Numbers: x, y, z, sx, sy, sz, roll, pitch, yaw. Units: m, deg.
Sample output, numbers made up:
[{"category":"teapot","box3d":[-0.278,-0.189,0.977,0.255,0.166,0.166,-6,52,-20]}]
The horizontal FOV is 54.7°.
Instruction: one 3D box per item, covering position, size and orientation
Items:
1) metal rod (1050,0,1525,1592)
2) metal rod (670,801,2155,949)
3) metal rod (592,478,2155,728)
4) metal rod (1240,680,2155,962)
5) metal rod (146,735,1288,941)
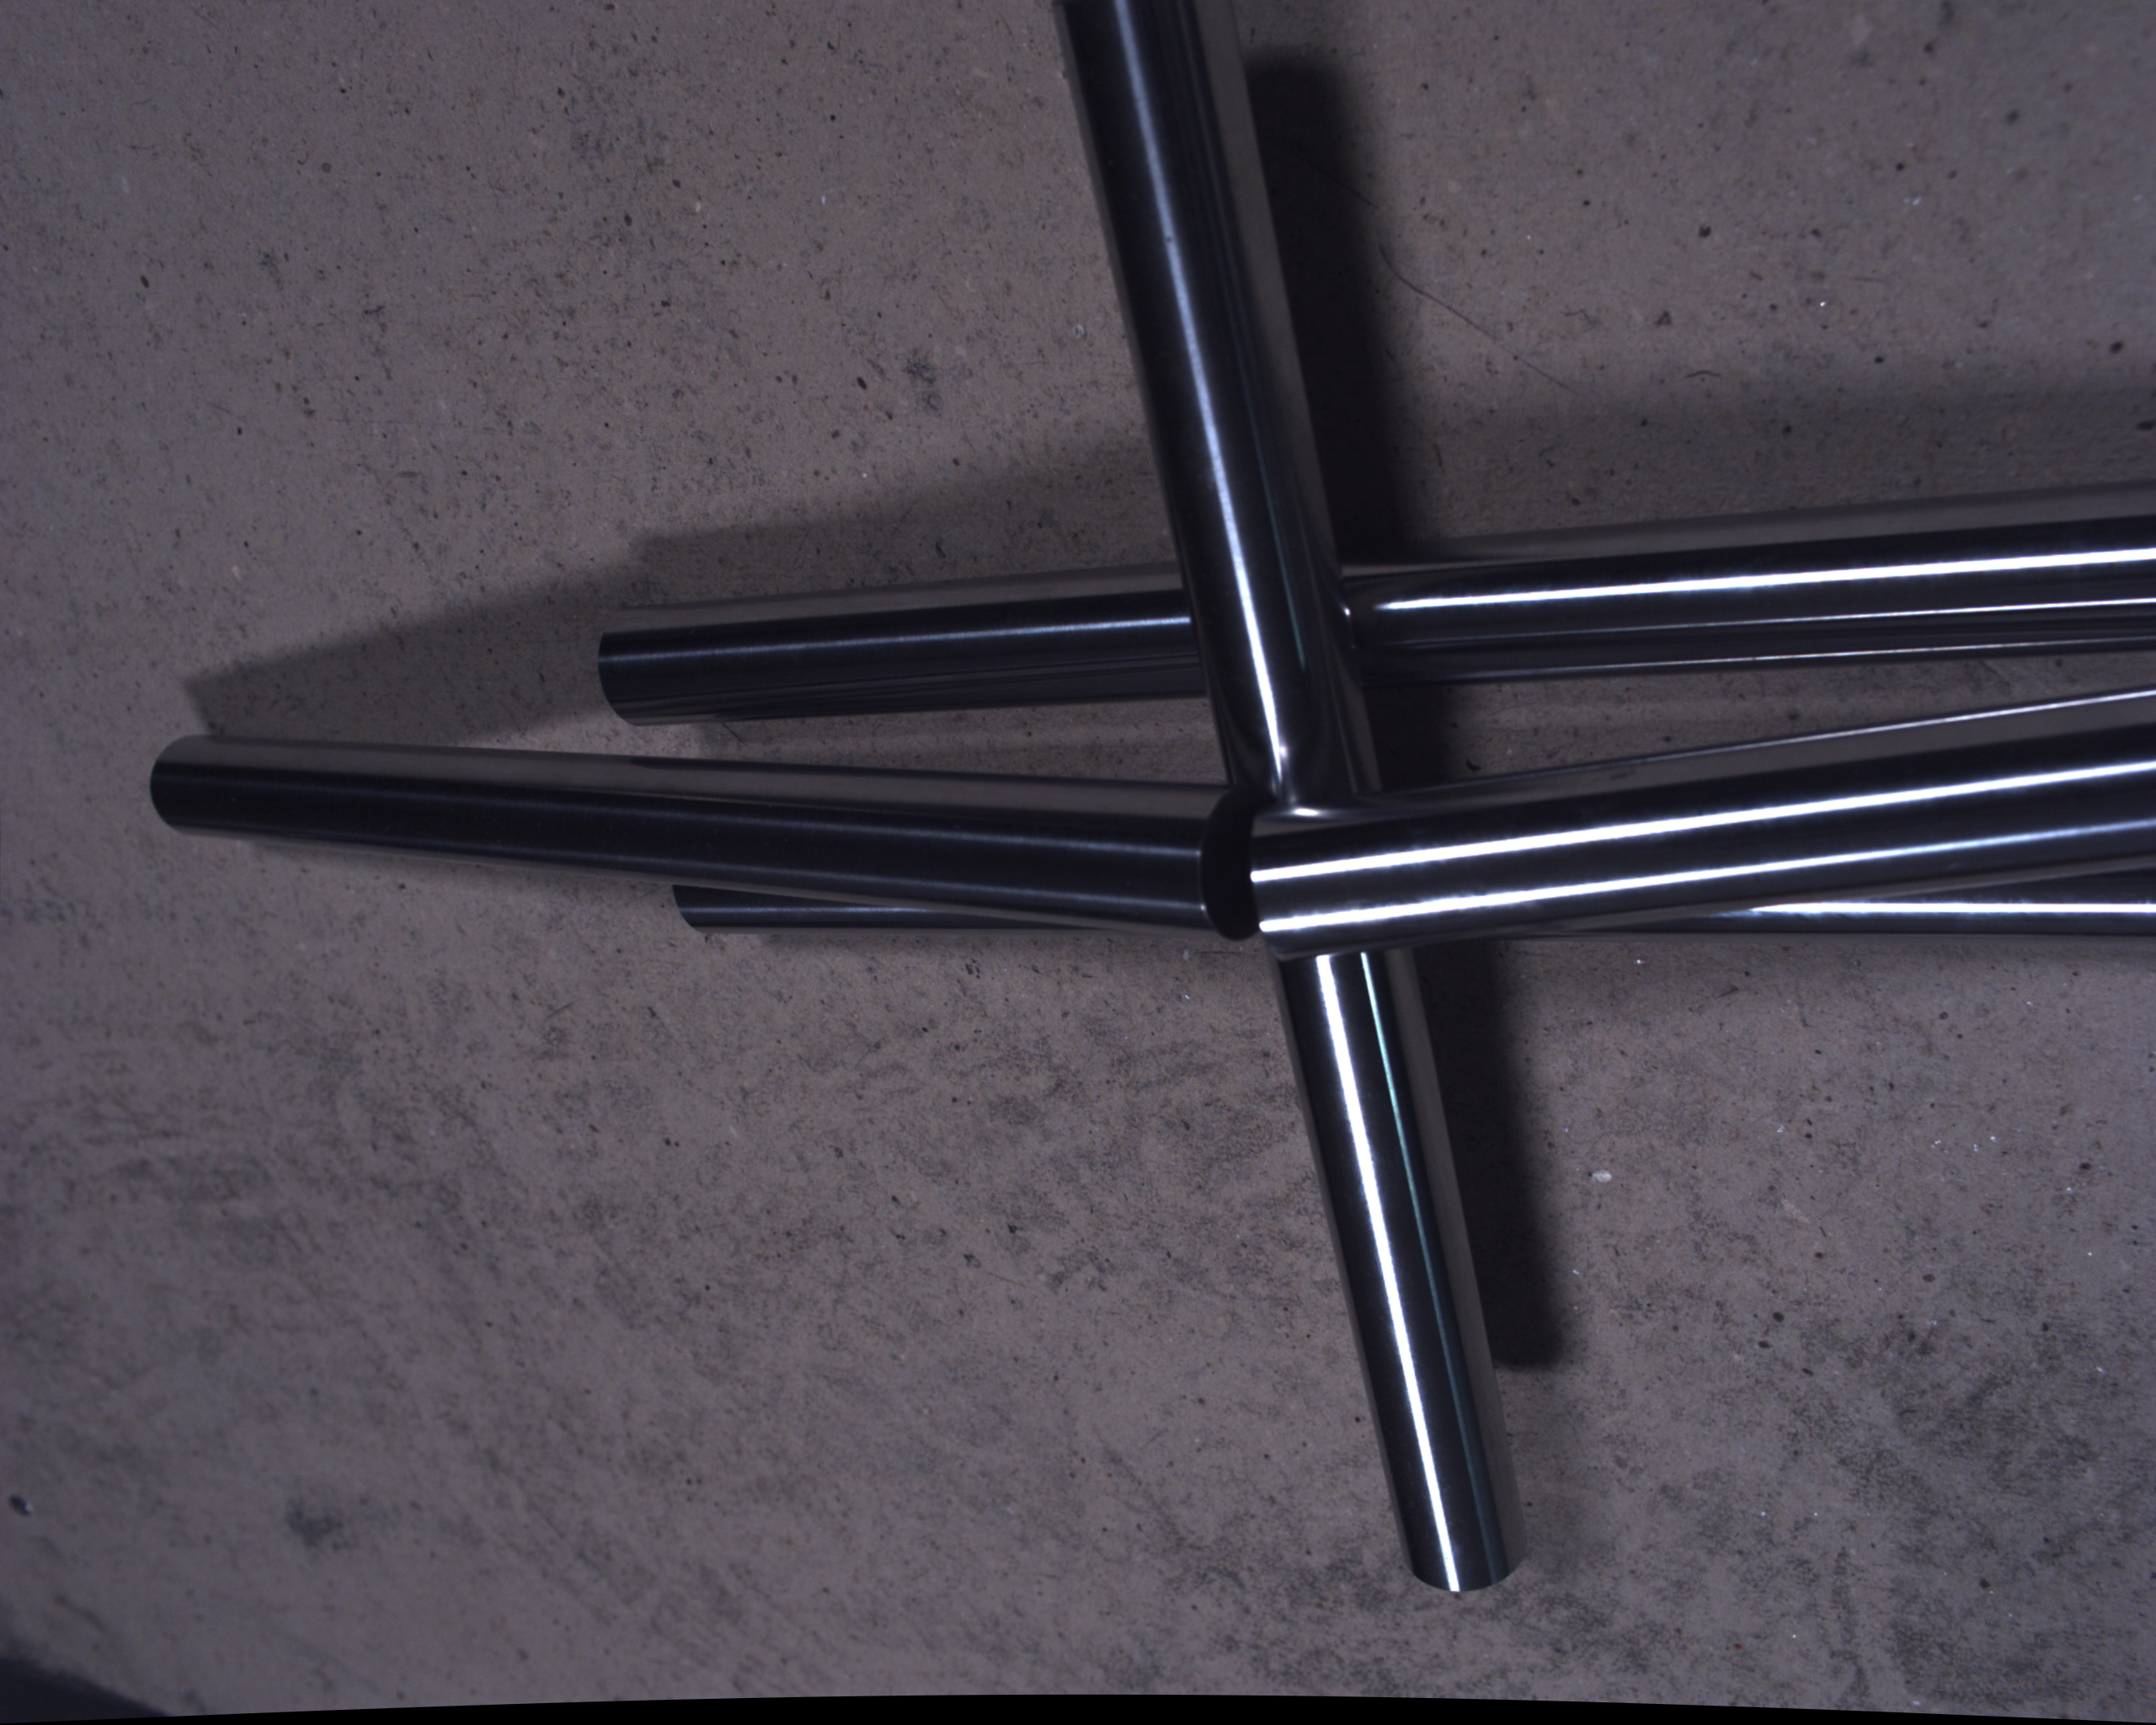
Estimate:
[{"category":"metal rod","box3d":[0.043,0.006,0.356,0.025,0.025,0.298,-1,118,28]},{"category":"metal rod","box3d":[0.053,0.002,0.380,0.300,0.025,0.025,-1,118,28]},{"category":"metal rod","box3d":[0.041,-0.042,0.359,0.300,0.025,0.025,-1,118,28]},{"category":"metal rod","box3d":[0.170,-0.015,0.277,0.301,0.025,0.025,-8,115,20]},{"category":"metal rod","box3d":[-0.094,-0.009,0.418,0.300,0.025,0.025,4,121,36]}]
